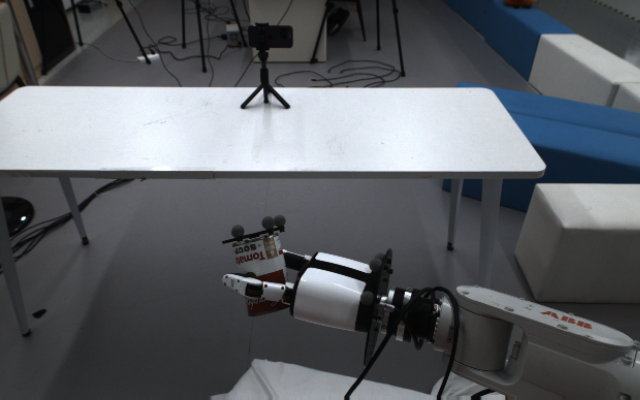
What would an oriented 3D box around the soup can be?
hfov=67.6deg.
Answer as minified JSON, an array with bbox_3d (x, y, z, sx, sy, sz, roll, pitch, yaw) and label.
[{"bbox_3d":[-0.077,0.103,0.673,0.067,0.101,0.067,-14,-2,-1],"label":"soup can"}]
